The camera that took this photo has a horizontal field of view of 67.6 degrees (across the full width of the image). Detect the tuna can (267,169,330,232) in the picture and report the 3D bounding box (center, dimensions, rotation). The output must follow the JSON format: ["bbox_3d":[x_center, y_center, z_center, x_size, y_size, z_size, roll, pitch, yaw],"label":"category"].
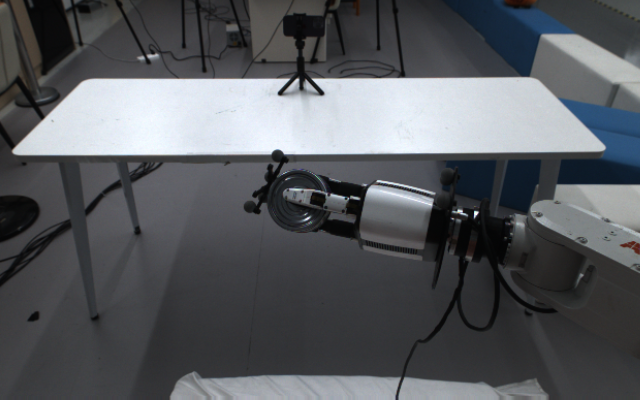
[{"bbox_3d":[-0.024,0.005,0.651,0.085,0.085,0.034,9,-4,10],"label":"tuna can"}]
